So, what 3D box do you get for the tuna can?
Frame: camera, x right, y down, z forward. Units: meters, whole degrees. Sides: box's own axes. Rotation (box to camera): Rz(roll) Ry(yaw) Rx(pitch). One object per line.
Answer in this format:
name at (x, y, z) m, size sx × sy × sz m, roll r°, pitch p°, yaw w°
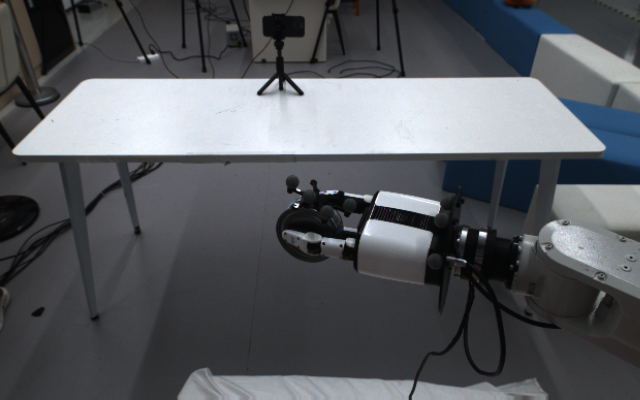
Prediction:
tuna can at (-0.011, 0.039, 0.646) m, size 0.085 × 0.085 × 0.034 m, roll 12°, pitch 30°, yaw 15°
